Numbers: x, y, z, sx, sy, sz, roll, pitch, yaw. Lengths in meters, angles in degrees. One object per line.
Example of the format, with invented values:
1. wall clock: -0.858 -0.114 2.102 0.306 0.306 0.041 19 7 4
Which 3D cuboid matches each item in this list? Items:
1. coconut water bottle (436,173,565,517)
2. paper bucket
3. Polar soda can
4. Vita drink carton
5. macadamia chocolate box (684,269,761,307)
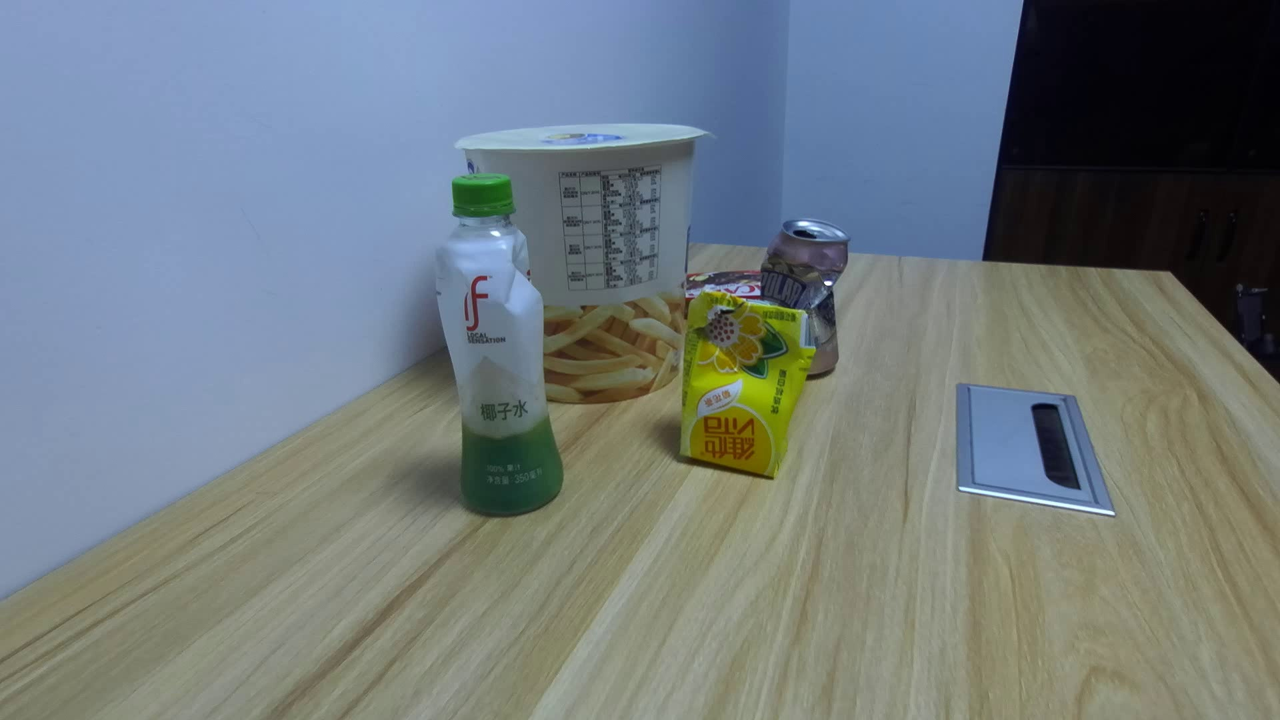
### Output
1. coconut water bottle: -0.080 -0.007 0.399 0.069 0.186 0.069 -1 23 1
2. paper bucket: -0.042 -0.081 0.571 0.198 0.195 0.198 -2 23 1
3. Polar soda can: 0.137 -0.047 0.574 0.067 0.122 0.070 -5 21 -23
4. Vita drink carton: 0.066 0.012 0.450 0.086 0.108 0.042 11 13 21
5. macadamia chocolate box: 0.080 -0.072 0.766 0.183 0.028 0.105 0 23 2
